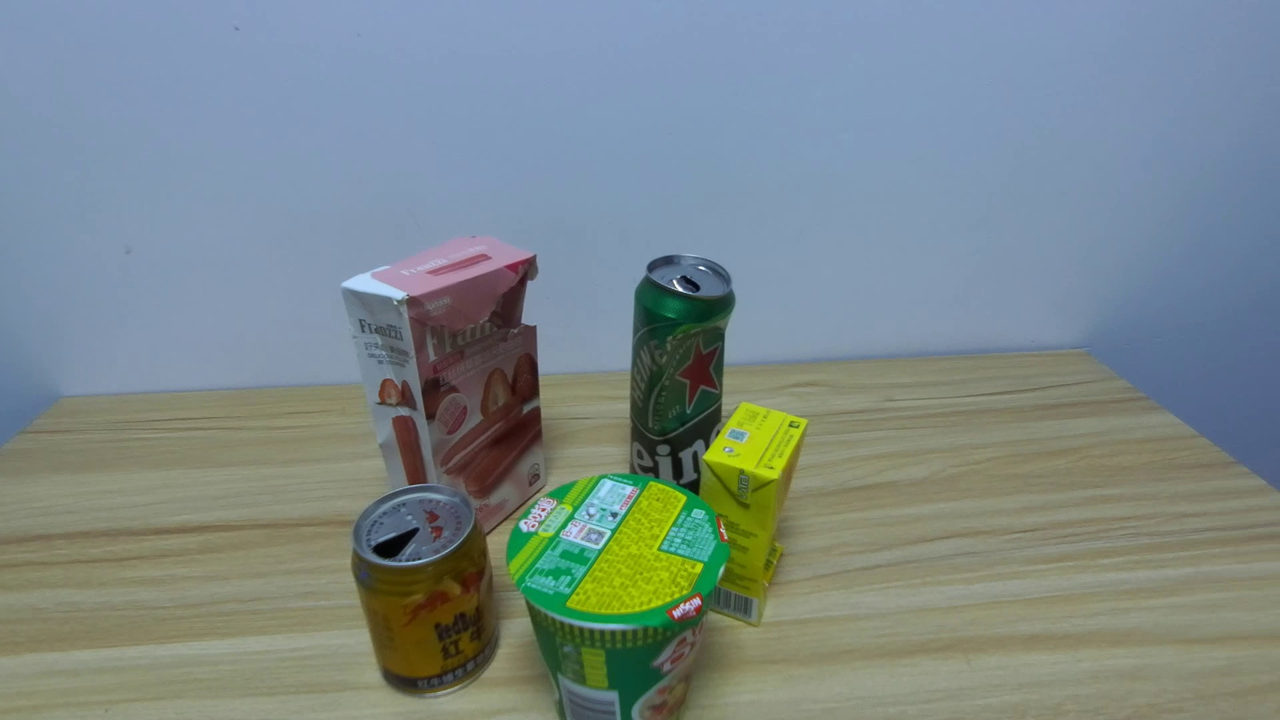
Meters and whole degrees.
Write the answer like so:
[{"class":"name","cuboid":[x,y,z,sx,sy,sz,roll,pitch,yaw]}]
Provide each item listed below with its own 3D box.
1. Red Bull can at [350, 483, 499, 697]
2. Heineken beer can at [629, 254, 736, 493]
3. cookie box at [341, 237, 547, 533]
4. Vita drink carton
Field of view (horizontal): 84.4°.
[{"class":"Red Bull can","cuboid":[-0.111,0.120,0.372,0.068,0.093,0.068,-1,28,1]},{"class":"Heineken beer can","cuboid":[0.028,0.017,0.479,0.068,0.168,0.069,-1,32,-7]},{"class":"cookie box","cuboid":[-0.114,0.025,0.450,0.059,0.186,0.105,20,34,30]},{"class":"Vita drink carton","cuboid":[0.066,0.087,0.412,0.043,0.109,0.076,14,31,24]}]
